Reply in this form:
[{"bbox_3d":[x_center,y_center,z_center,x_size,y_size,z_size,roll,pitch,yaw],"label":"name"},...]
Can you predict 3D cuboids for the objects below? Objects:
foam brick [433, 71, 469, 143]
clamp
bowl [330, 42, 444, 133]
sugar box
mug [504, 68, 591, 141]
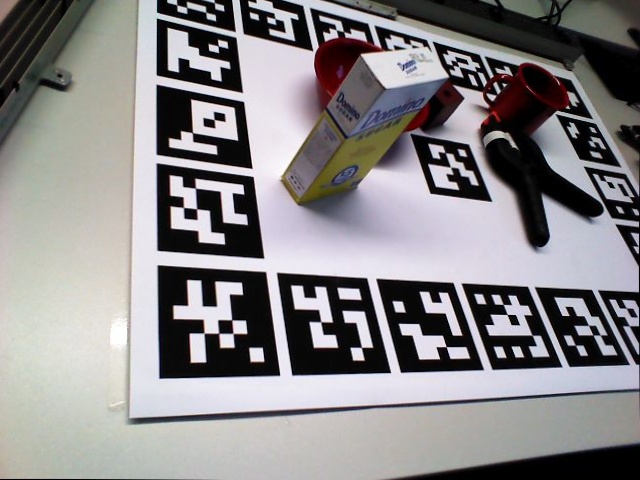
[{"bbox_3d":[0.173,-0.185,0.720,0.052,0.052,0.078,-25,75,-34],"label":"foam brick"},{"bbox_3d":[0.315,-0.088,0.724,0.164,0.037,0.202,-20,72,-32],"label":"clamp"},{"bbox_3d":[0.074,-0.173,0.654,0.161,0.055,0.160,13,56,-20],"label":"bowl"},{"bbox_3d":[0.050,-0.092,0.515,0.092,0.178,0.045,-22,74,-36],"label":"sugar box"},{"bbox_3d":[0.333,-0.206,0.782,0.117,0.082,0.092,29,52,-12],"label":"mug"}]
